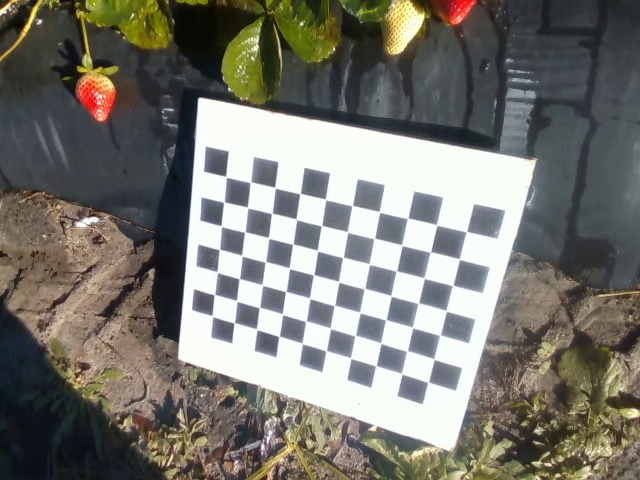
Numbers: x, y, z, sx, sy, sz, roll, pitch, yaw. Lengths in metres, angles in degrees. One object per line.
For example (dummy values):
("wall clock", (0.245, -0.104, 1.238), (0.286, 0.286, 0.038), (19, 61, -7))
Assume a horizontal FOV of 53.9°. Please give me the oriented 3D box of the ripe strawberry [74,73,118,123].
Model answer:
("ripe strawberry", (-0.203, -0.133, 0.571), (0.039, 0.053, 0.040), (-8, -3, 22))
